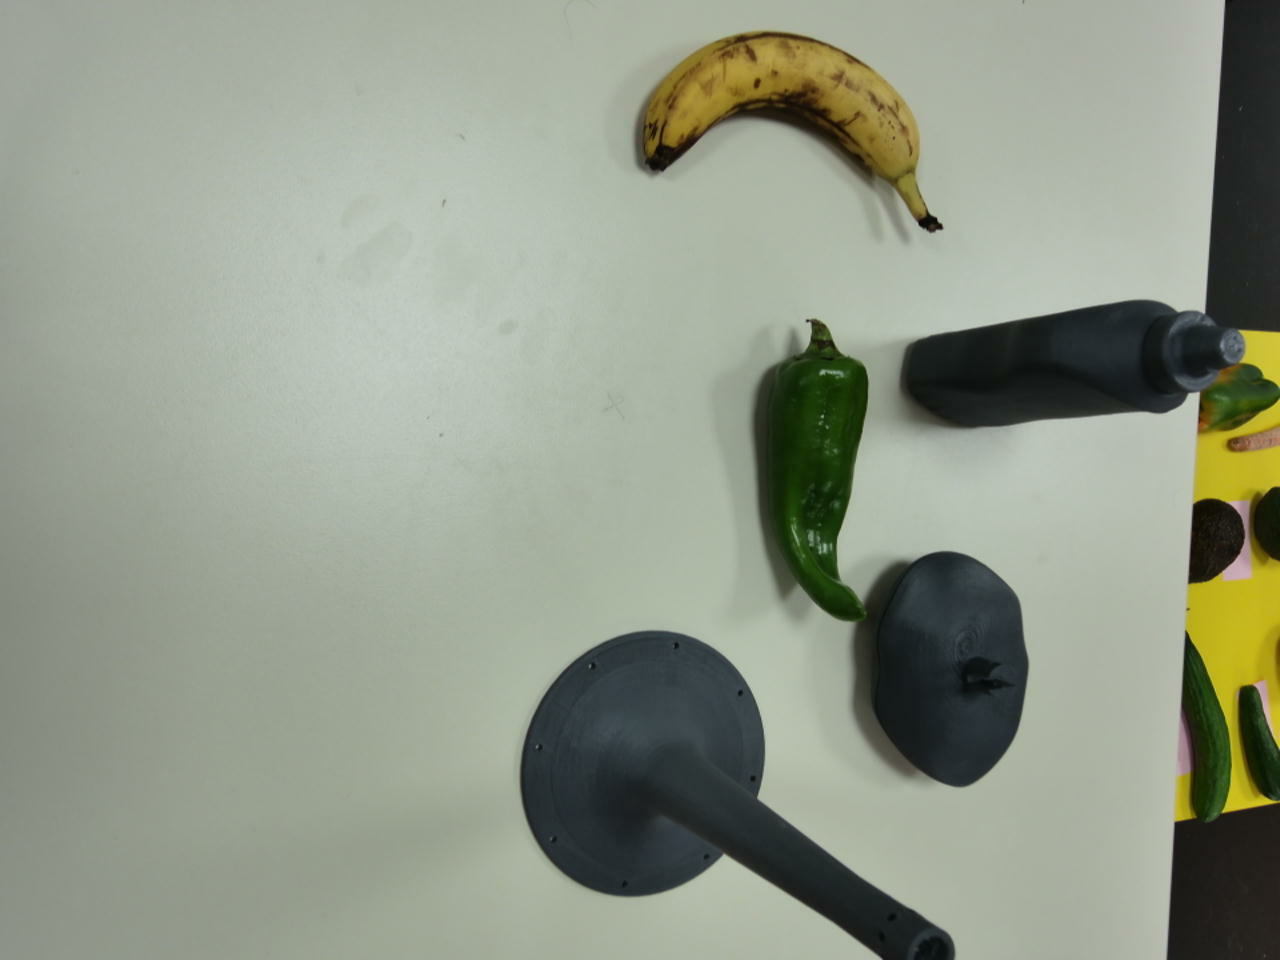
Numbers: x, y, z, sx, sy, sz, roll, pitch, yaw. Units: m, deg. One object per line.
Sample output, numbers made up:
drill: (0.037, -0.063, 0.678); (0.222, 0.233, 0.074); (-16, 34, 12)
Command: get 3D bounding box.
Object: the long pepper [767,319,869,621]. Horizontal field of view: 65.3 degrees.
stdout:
long pepper: (0.105, -0.008, 0.579); (0.058, 0.065, 0.175); (3, 89, -22)
